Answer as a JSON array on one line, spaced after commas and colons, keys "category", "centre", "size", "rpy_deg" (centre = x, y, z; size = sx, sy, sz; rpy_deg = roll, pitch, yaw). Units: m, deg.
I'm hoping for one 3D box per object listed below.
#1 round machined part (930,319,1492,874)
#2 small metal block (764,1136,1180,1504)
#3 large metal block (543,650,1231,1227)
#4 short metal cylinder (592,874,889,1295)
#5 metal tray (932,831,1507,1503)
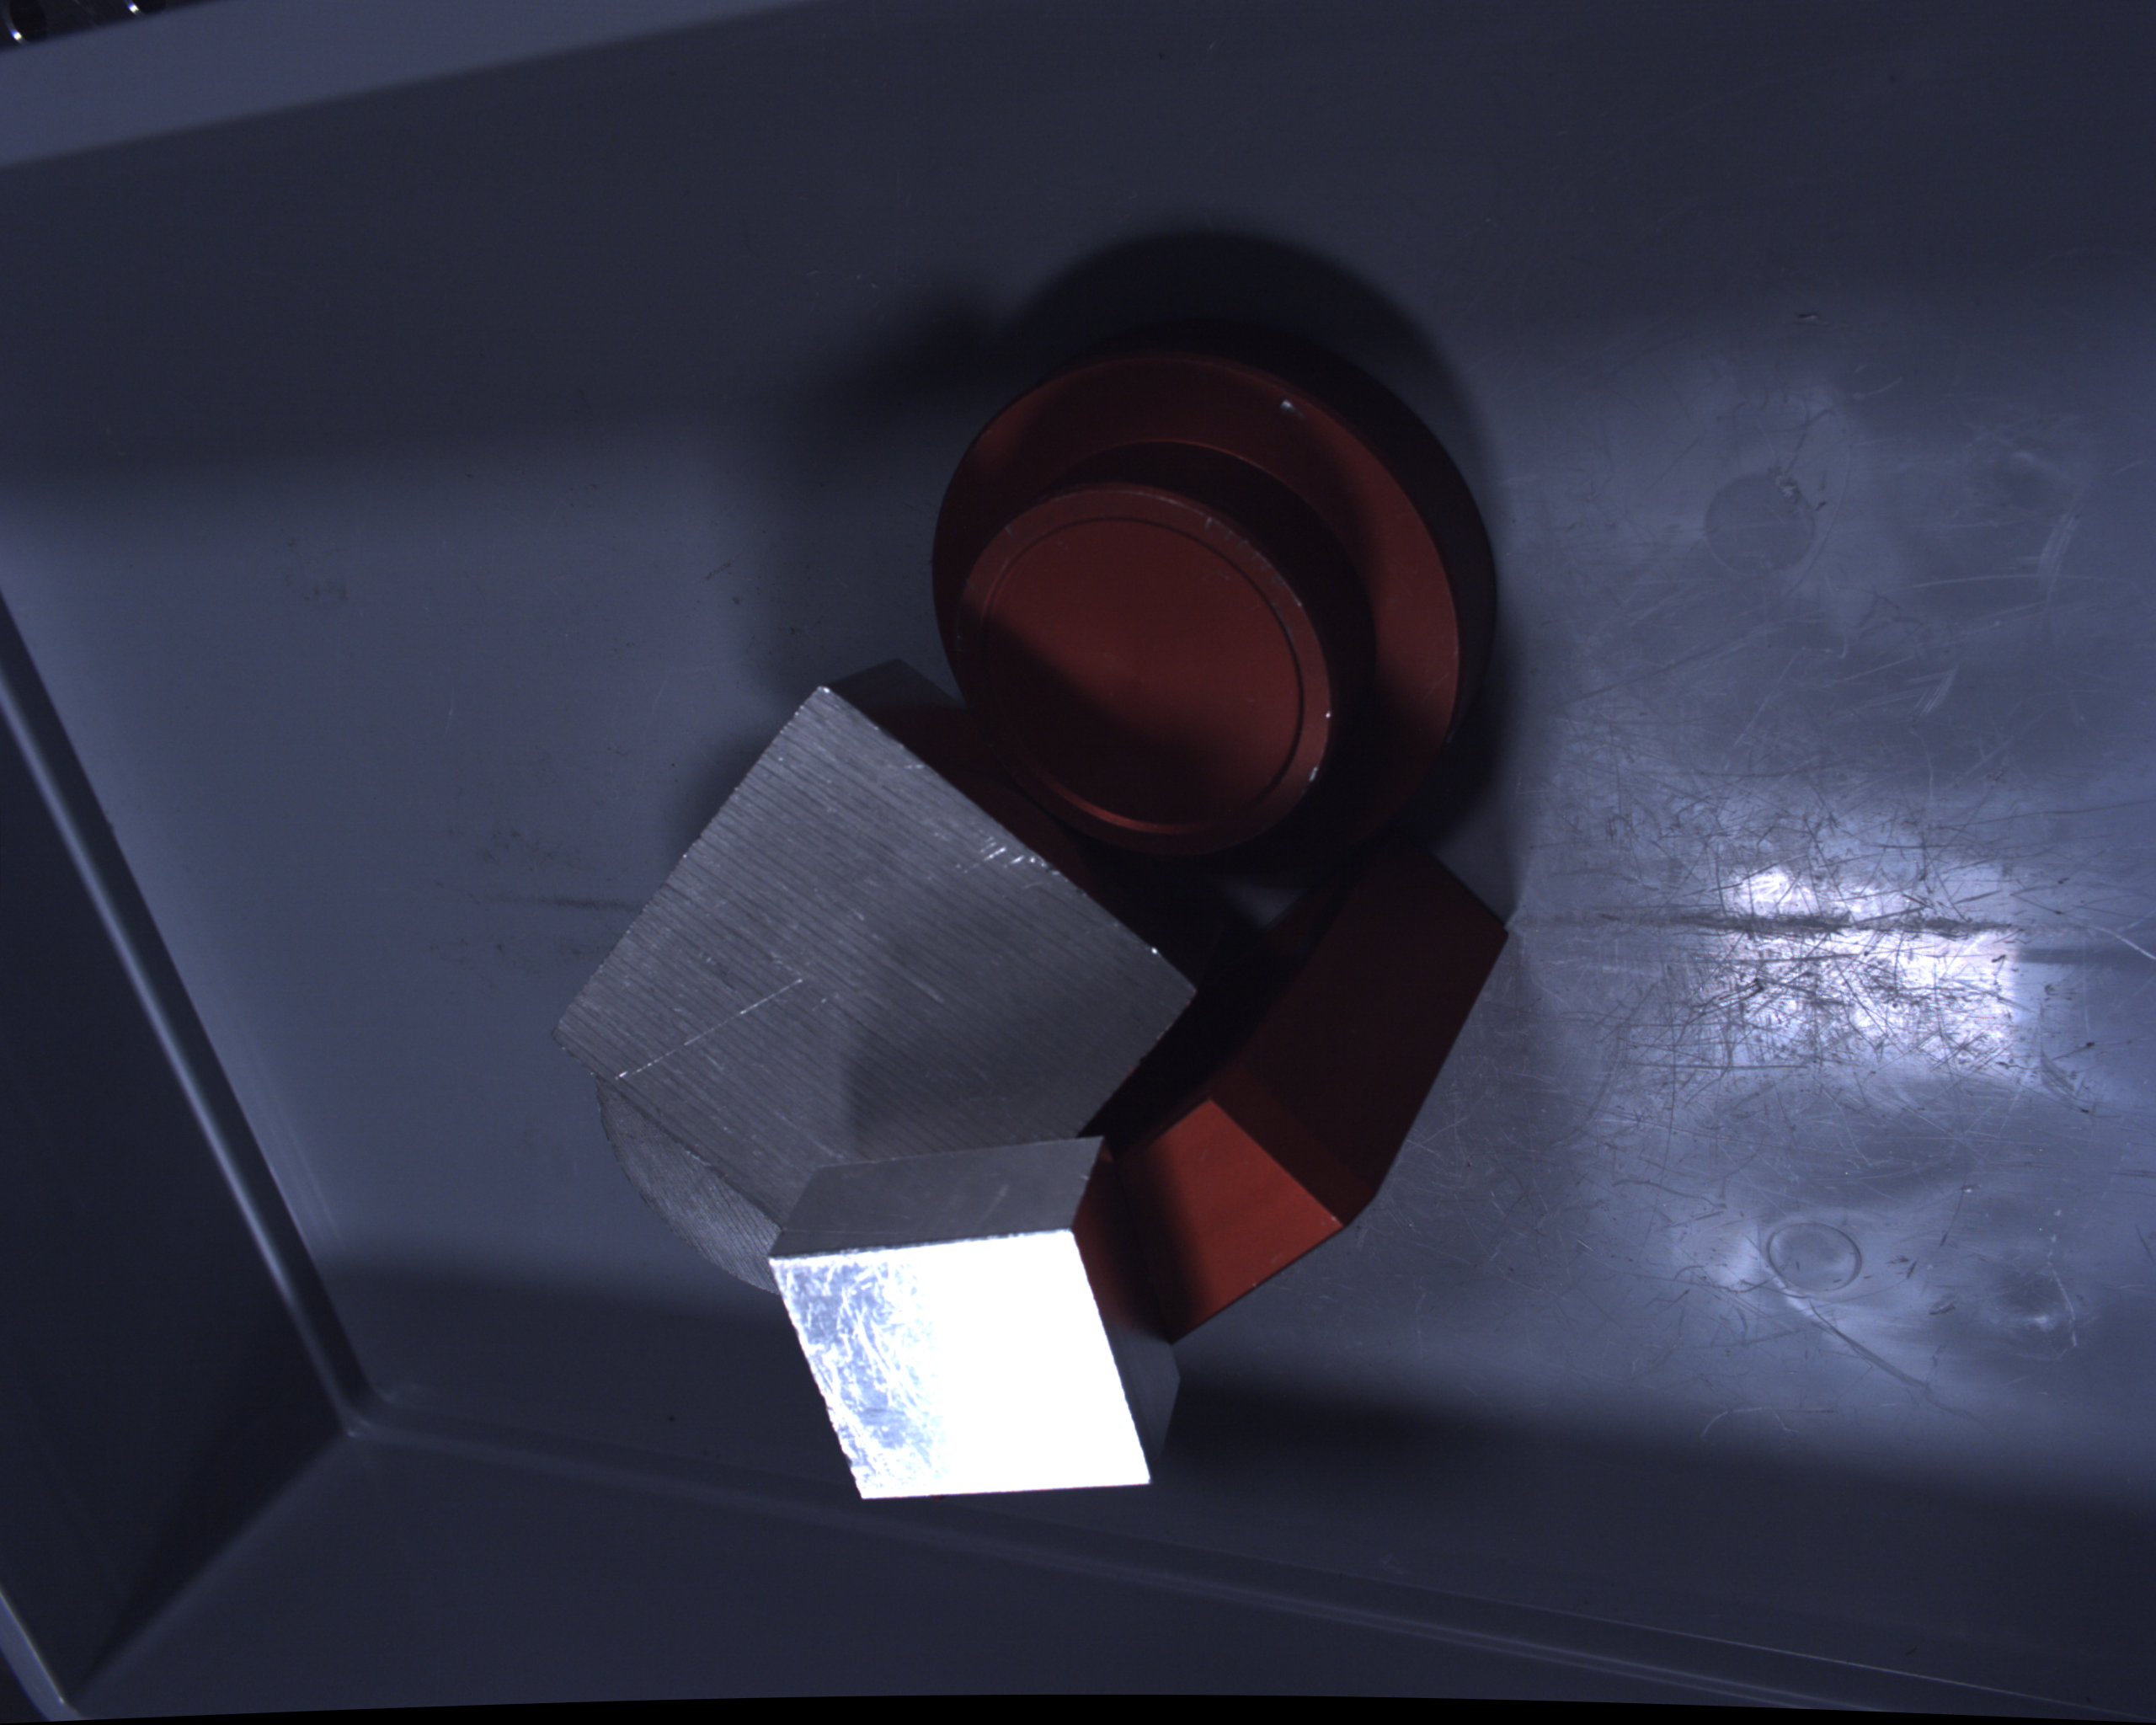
[{"category": "round machined part", "centre": [0.018, -0.040, 0.360], "size": [0.098, 0.042, 0.097], "rpy_deg": [13, 124, 20]}, {"category": "small metal block", "centre": [-0.016, 0.074, 0.336], "size": [0.050, 0.025, 0.050], "rpy_deg": [-9, 114, 17]}, {"category": "large metal block", "centre": [-0.032, 0.020, 0.372], "size": [0.080, 0.050, 0.080], "rpy_deg": [40, 104, 1]}, {"category": "short metal cylinder", "centre": [-0.055, 0.047, 0.447], "size": [0.080, 0.050, 0.079], "rpy_deg": [13, 124, 20]}, {"category": "metal tray", "centre": [0.015, 0.058, 0.390], "size": [0.030, 0.090, 0.129], "rpy_deg": [45, 129, -2]}]
